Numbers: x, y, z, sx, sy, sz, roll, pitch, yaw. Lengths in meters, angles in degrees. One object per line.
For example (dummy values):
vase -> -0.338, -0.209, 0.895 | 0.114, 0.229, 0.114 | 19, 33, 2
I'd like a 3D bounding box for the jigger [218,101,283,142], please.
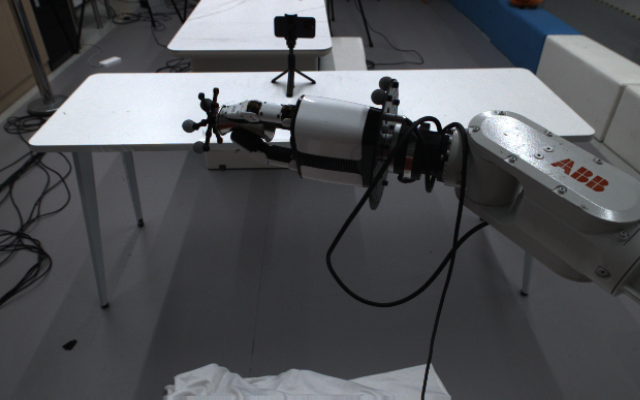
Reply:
jigger -> -0.091, -0.106, 0.636 | 0.071, 0.043, 0.043 | 7, 35, 15
